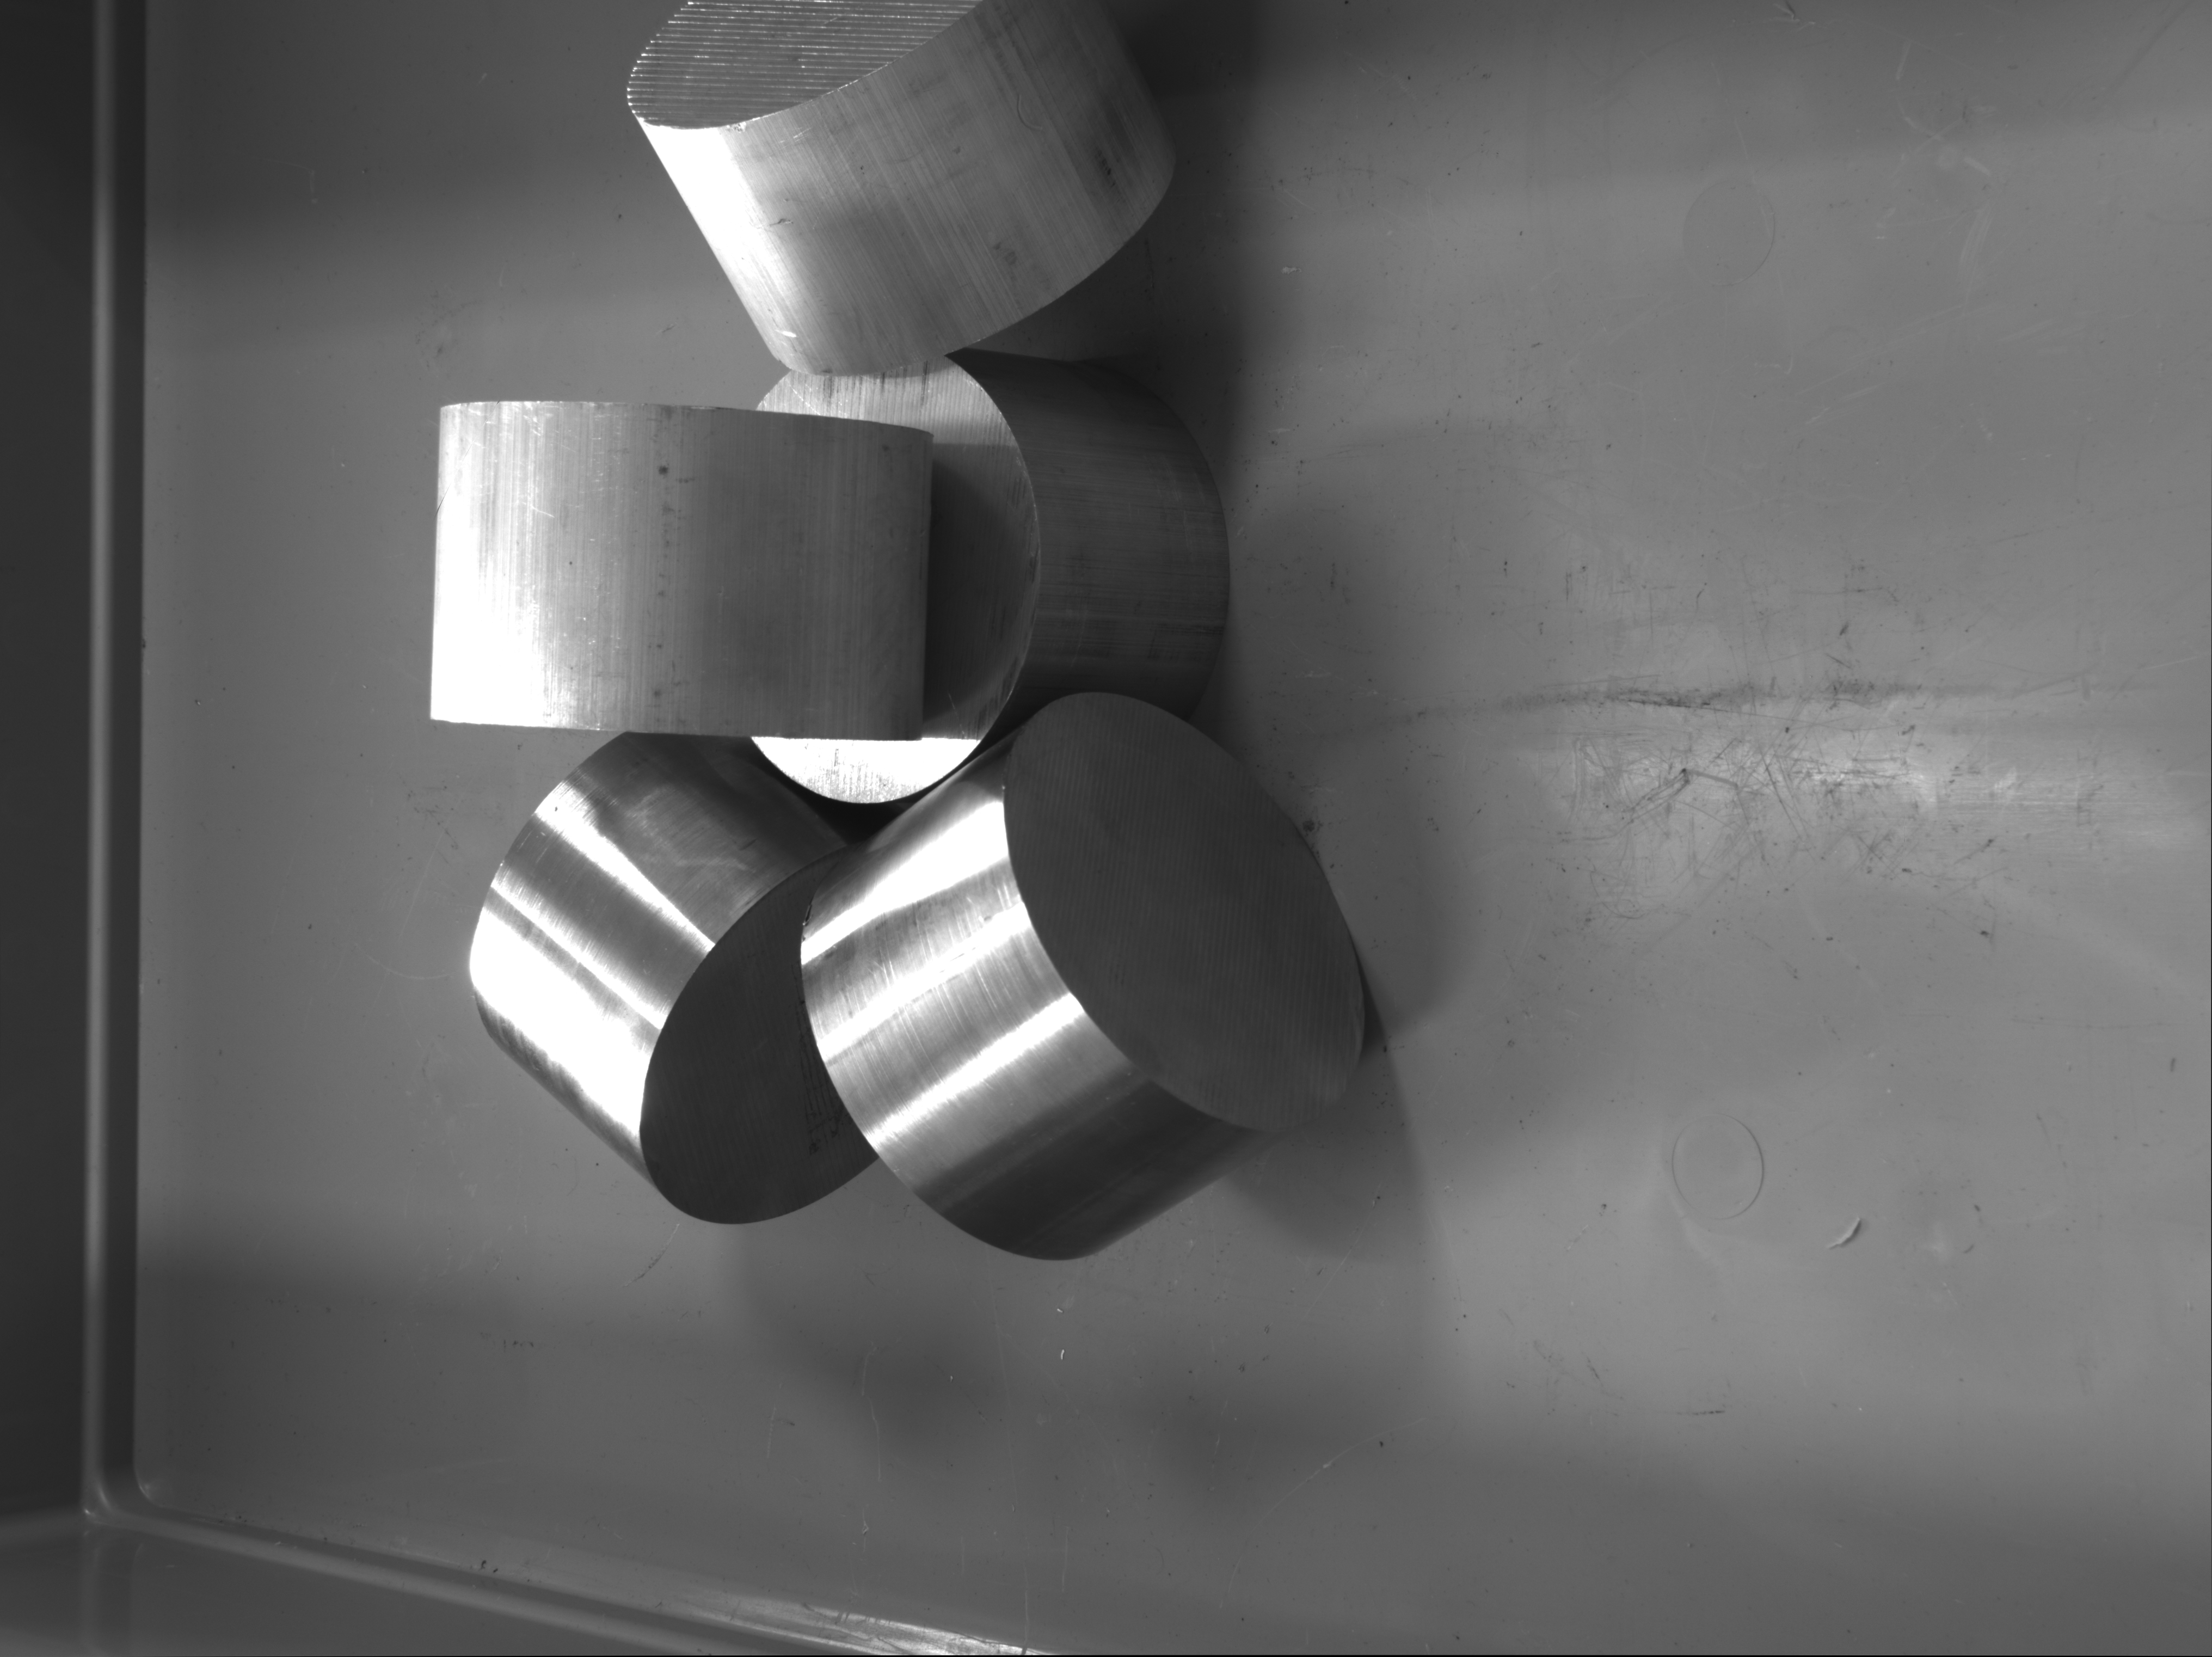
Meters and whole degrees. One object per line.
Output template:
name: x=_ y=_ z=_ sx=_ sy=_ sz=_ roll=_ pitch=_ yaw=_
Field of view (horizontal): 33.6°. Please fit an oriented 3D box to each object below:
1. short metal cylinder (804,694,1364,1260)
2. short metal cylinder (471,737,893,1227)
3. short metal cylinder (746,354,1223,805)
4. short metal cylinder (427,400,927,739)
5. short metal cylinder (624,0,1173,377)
short metal cylinder: x=-0.003 y=0.025 z=0.610 sx=0.050 sy=0.080 sz=0.080 roll=-36 pitch=68 yaw=35
short metal cylinder: x=-0.067 y=0.025 z=0.664 sx=0.050 sy=0.080 sz=0.080 roll=36 pitch=112 yaw=35
short metal cylinder: x=-0.026 y=-0.044 z=0.648 sx=0.080 sy=0.050 sz=0.080 roll=0 pitch=90 yaw=40
short metal cylinder: x=-0.070 y=-0.041 z=0.600 sx=0.080 sy=0.080 sz=0.050 roll=4 pitch=93 yaw=40
short metal cylinder: x=-0.035 y=-0.122 z=0.629 sx=0.080 sy=0.080 sz=0.050 roll=5 pitch=136 yaw=40
